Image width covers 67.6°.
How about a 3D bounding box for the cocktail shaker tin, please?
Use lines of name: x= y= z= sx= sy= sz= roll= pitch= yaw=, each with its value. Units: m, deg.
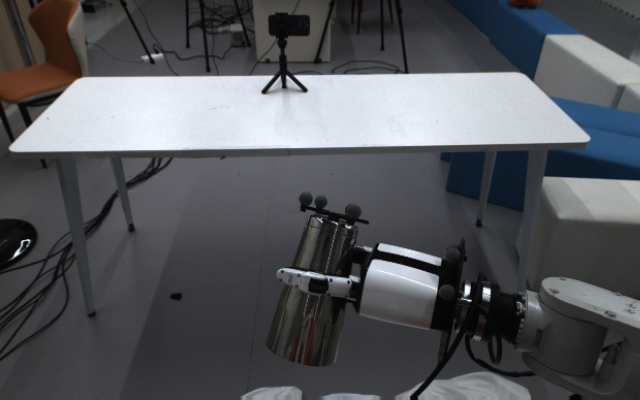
cocktail shaker tin: x=-0.003 y=0.108 z=0.611 sx=0.093 sy=0.170 sz=0.093 roll=14 pitch=2 yaw=0
